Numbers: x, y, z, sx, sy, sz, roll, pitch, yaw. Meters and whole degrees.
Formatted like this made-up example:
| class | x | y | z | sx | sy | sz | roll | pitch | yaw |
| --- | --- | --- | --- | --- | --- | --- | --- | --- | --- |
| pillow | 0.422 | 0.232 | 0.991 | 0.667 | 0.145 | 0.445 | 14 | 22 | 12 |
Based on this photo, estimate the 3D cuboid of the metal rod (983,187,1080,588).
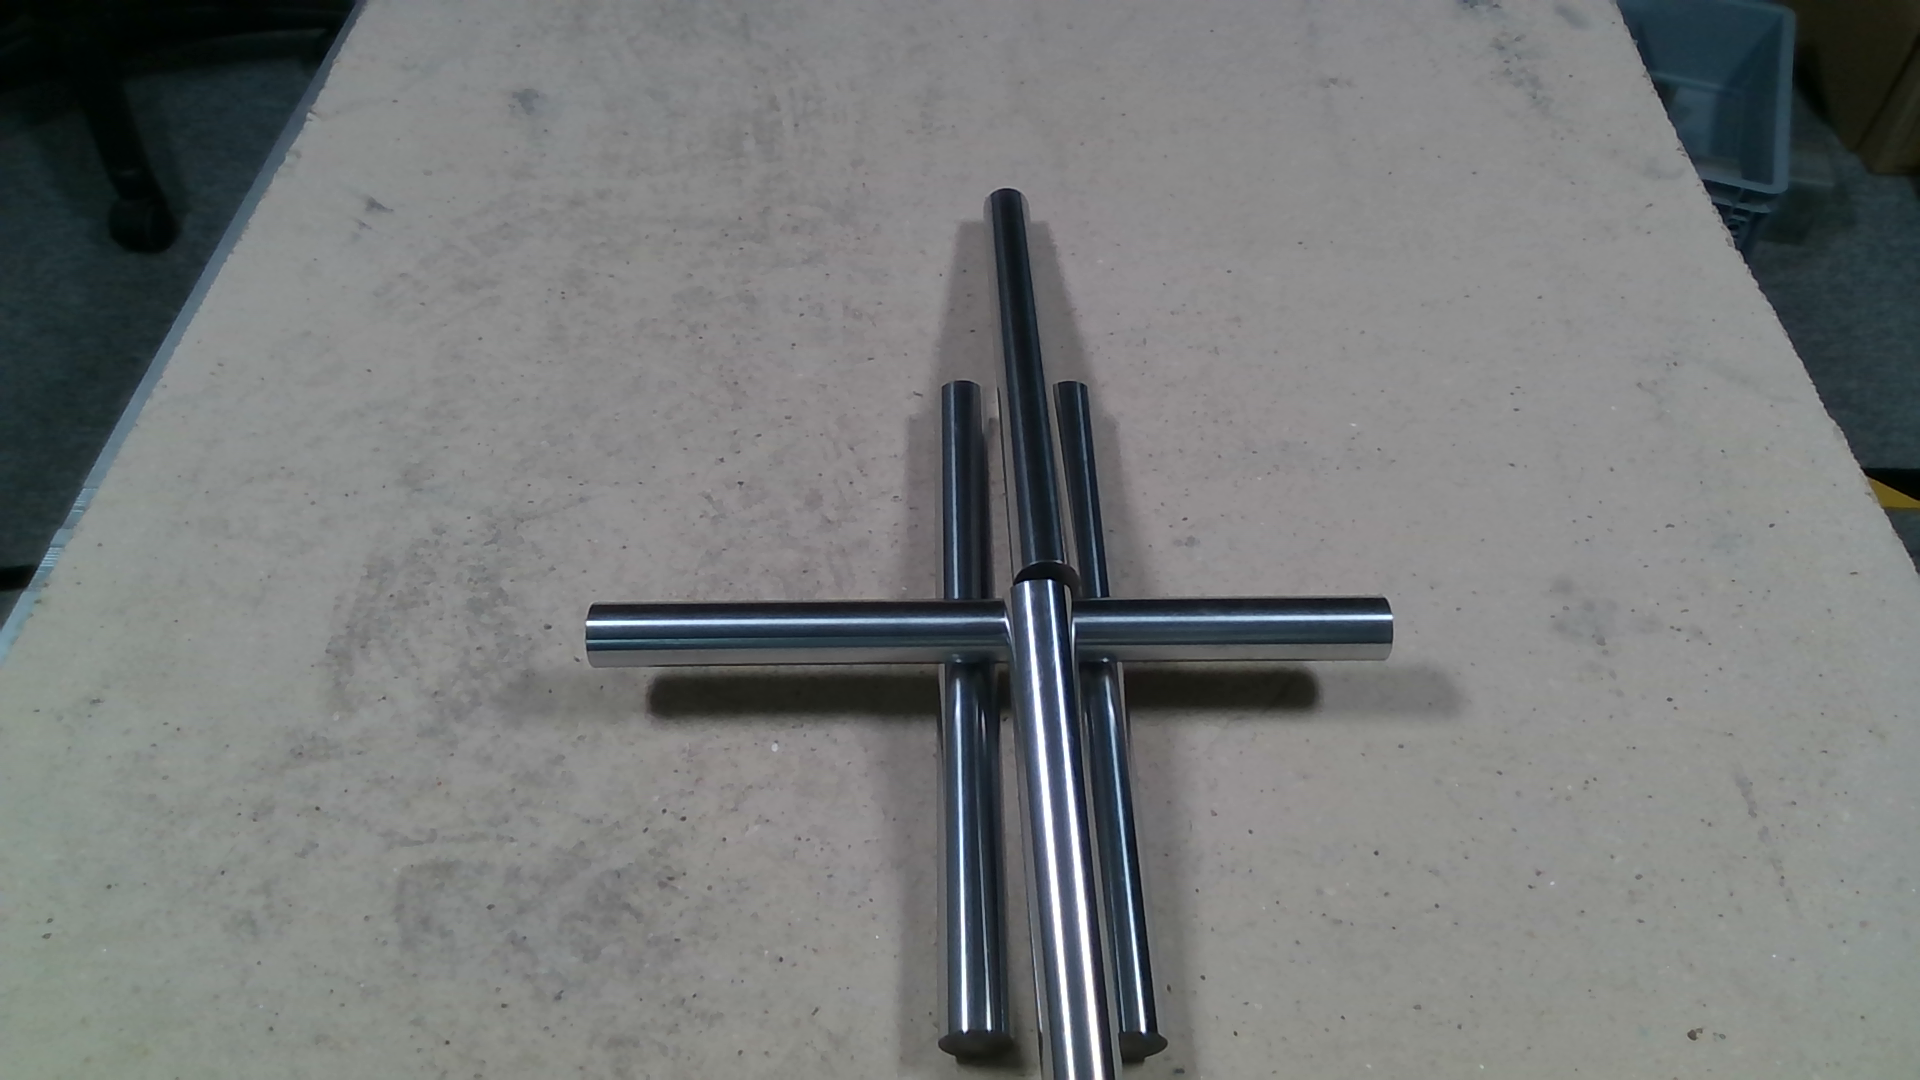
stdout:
| class | x | y | z | sx | sy | sz | roll | pitch | yaw |
| --- | --- | --- | --- | --- | --- | --- | --- | --- | --- |
| metal rod | 0.028 | -0.080 | 0.621 | 0.025 | 0.025 | 0.299 | -1 | 41 | -1 |

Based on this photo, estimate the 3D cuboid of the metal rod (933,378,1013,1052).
| class | x | y | z | sx | sy | sz | roll | pitch | yaw |
| --- | --- | --- | --- | --- | --- | --- | --- | --- | --- |
| metal rod | 0.002 | 0.048 | 0.546 | 0.025 | 0.025 | 0.299 | -1 | 50 | -1 |

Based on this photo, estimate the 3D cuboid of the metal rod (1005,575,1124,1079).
| class | x | y | z | sx | sy | sz | roll | pitch | yaw |
| --- | --- | --- | --- | --- | --- | --- | --- | --- | --- |
| metal rod | 0.037 | 0.149 | 0.431 | 0.025 | 0.025 | 0.299 | -2 | 60 | -2 |

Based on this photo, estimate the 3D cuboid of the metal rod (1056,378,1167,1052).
| class | x | y | z | sx | sy | sz | roll | pitch | yaw |
| --- | --- | --- | --- | --- | --- | --- | --- | --- | --- |
| metal rod | 0.053 | 0.048 | 0.546 | 0.025 | 0.025 | 0.299 | -1 | 50 | -1 |

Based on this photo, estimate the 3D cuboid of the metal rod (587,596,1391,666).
| class | x | y | z | sx | sy | sz | roll | pitch | yaw |
| --- | --- | --- | --- | --- | --- | --- | --- | --- | --- |
| metal rod | 0.011 | 0.035 | 0.526 | 0.300 | 0.025 | 0.025 | 0 | 50 | 0 |
